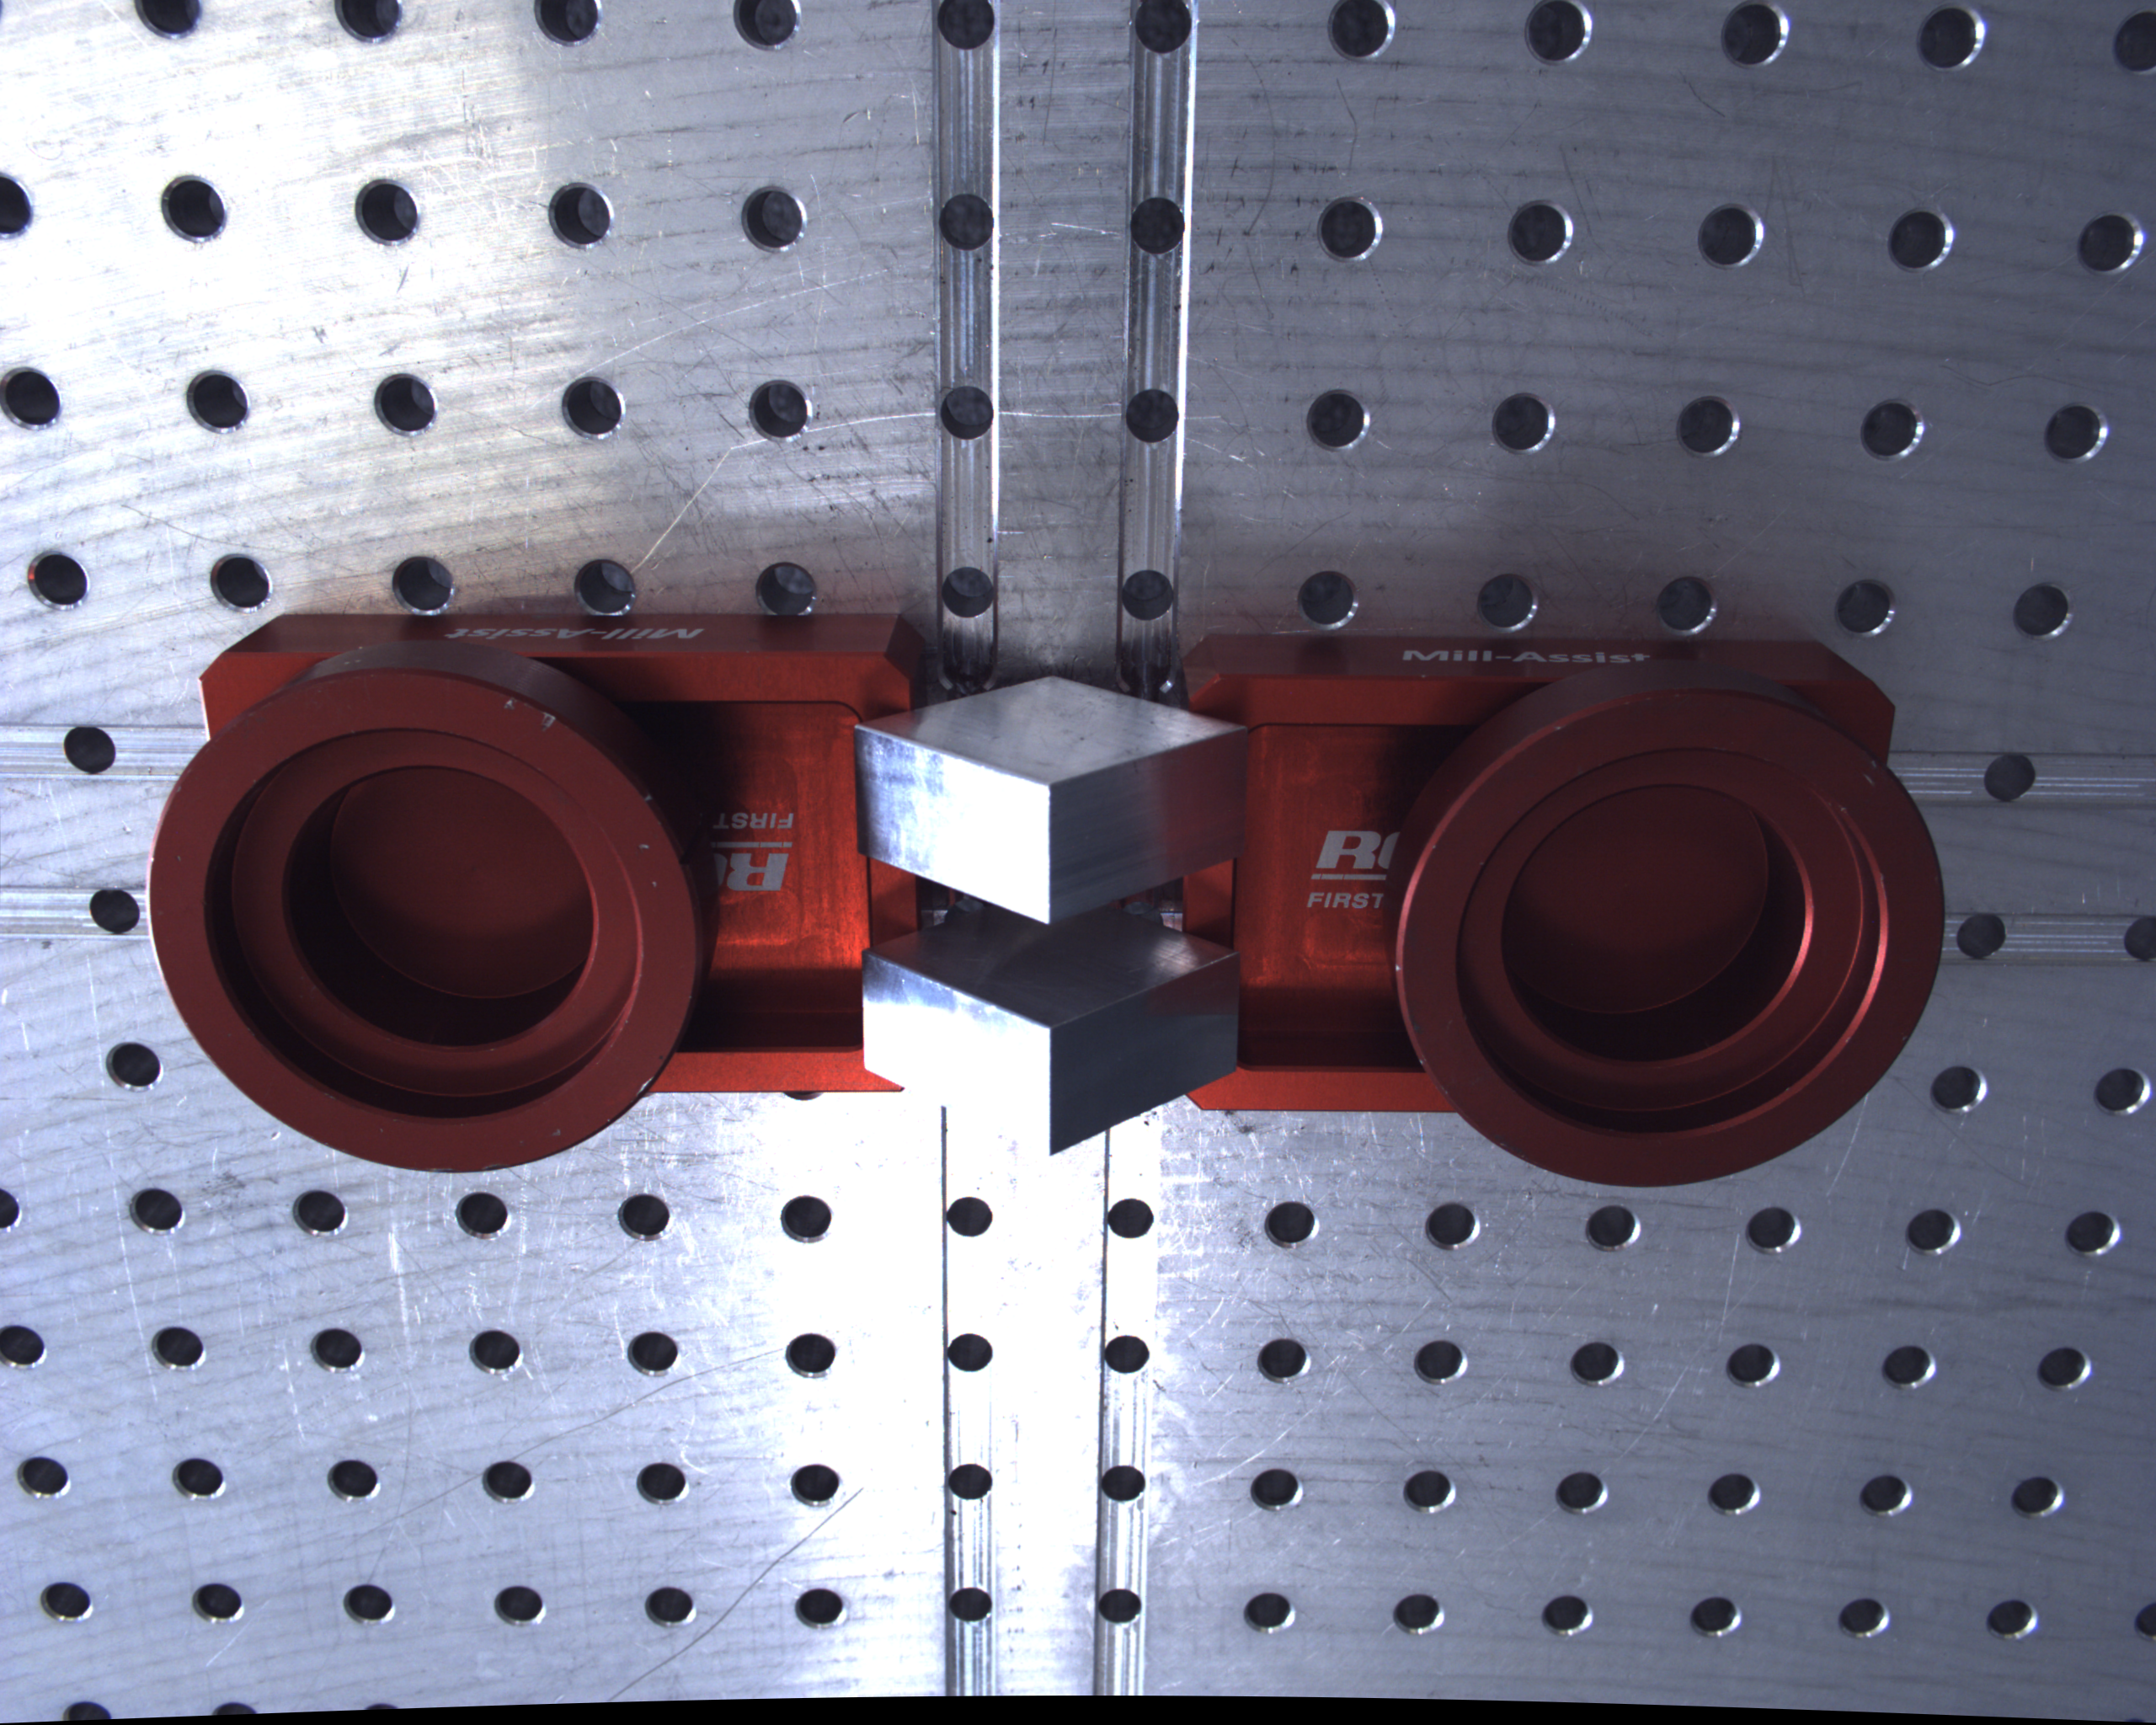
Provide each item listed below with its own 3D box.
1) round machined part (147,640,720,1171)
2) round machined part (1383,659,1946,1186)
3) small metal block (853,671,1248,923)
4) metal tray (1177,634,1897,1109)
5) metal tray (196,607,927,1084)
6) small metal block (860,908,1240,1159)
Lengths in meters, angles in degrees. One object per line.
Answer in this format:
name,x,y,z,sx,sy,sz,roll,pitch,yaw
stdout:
round machined part,-0.117,0.005,0.392,0.099,0.042,0.097,0,110,0
round machined part,0.107,0.008,0.395,0.099,0.042,0.097,0,110,0
small metal block,-0.005,-0.014,0.380,0.050,0.050,0.025,19,117,41
metal tray,0.086,0.003,0.413,0.131,0.030,0.089,1,110,-1
metal tray,-0.095,-0.002,0.410,0.131,0.030,0.089,-1,112,0
small metal block,-0.005,0.028,0.394,0.050,0.050,0.025,19,117,41
